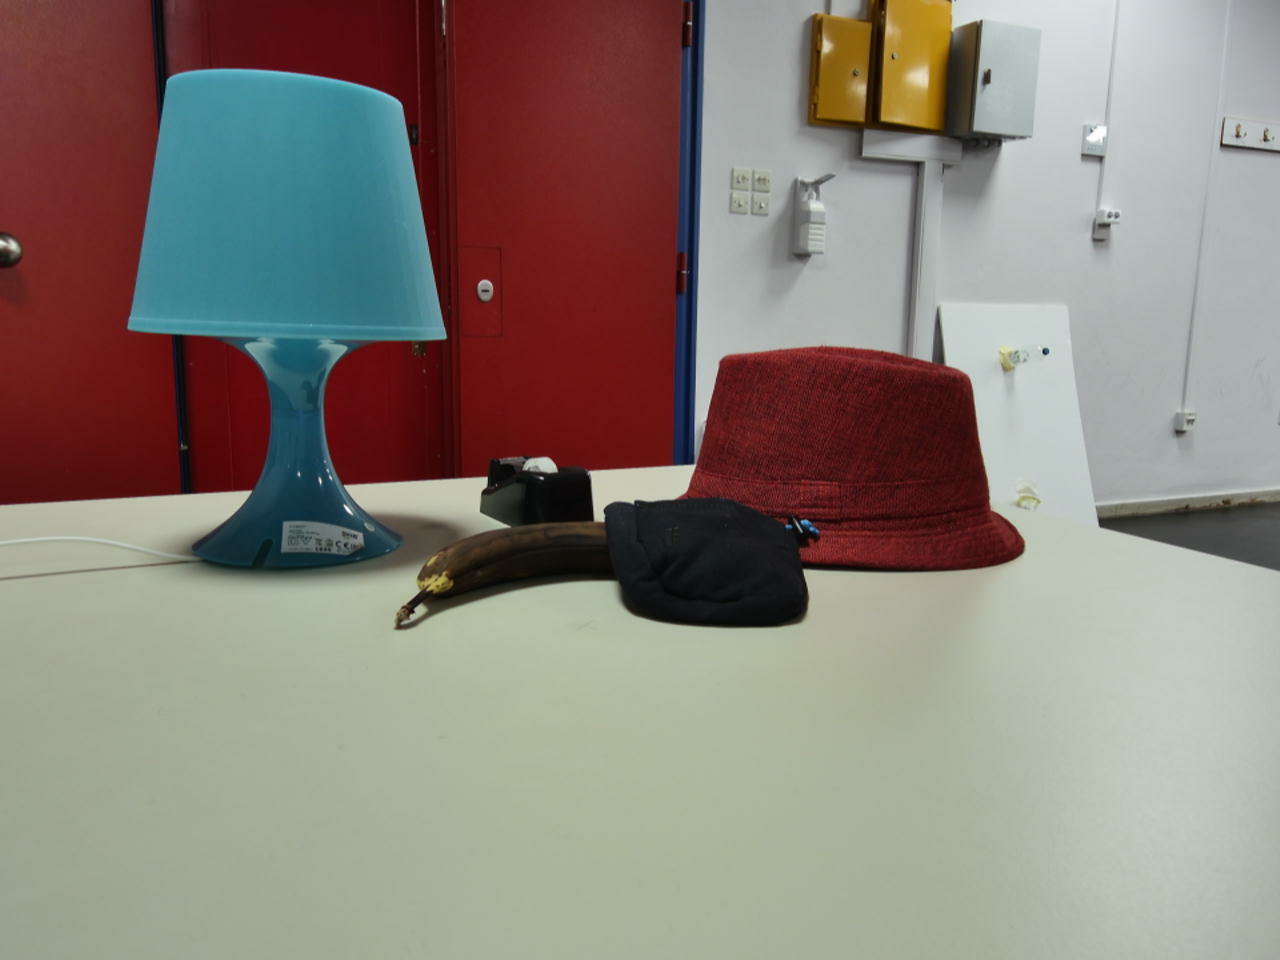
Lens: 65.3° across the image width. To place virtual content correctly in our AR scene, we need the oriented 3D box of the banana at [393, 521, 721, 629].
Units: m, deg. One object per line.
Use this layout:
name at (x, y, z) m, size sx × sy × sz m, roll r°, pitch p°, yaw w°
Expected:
banana at (-0.052, 0.046, 0.573) m, size 0.188 × 0.033 × 0.091 m, roll -4°, pitch 8°, yaw -23°
